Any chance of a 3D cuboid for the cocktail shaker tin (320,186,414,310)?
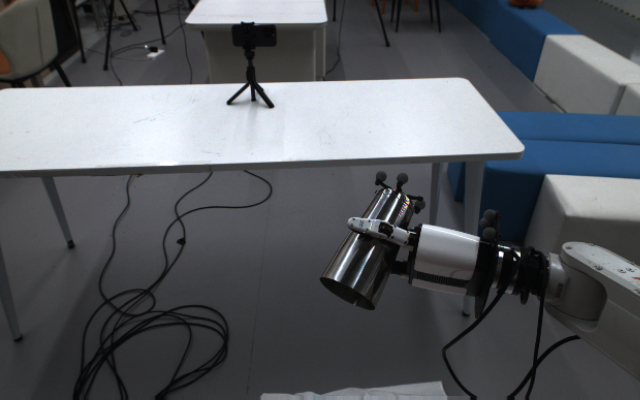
[{"bbox_3d":[0.081,0.065,0.732,0.093,0.093,0.170,20,67,24],"label":"cocktail shaker tin"}]
